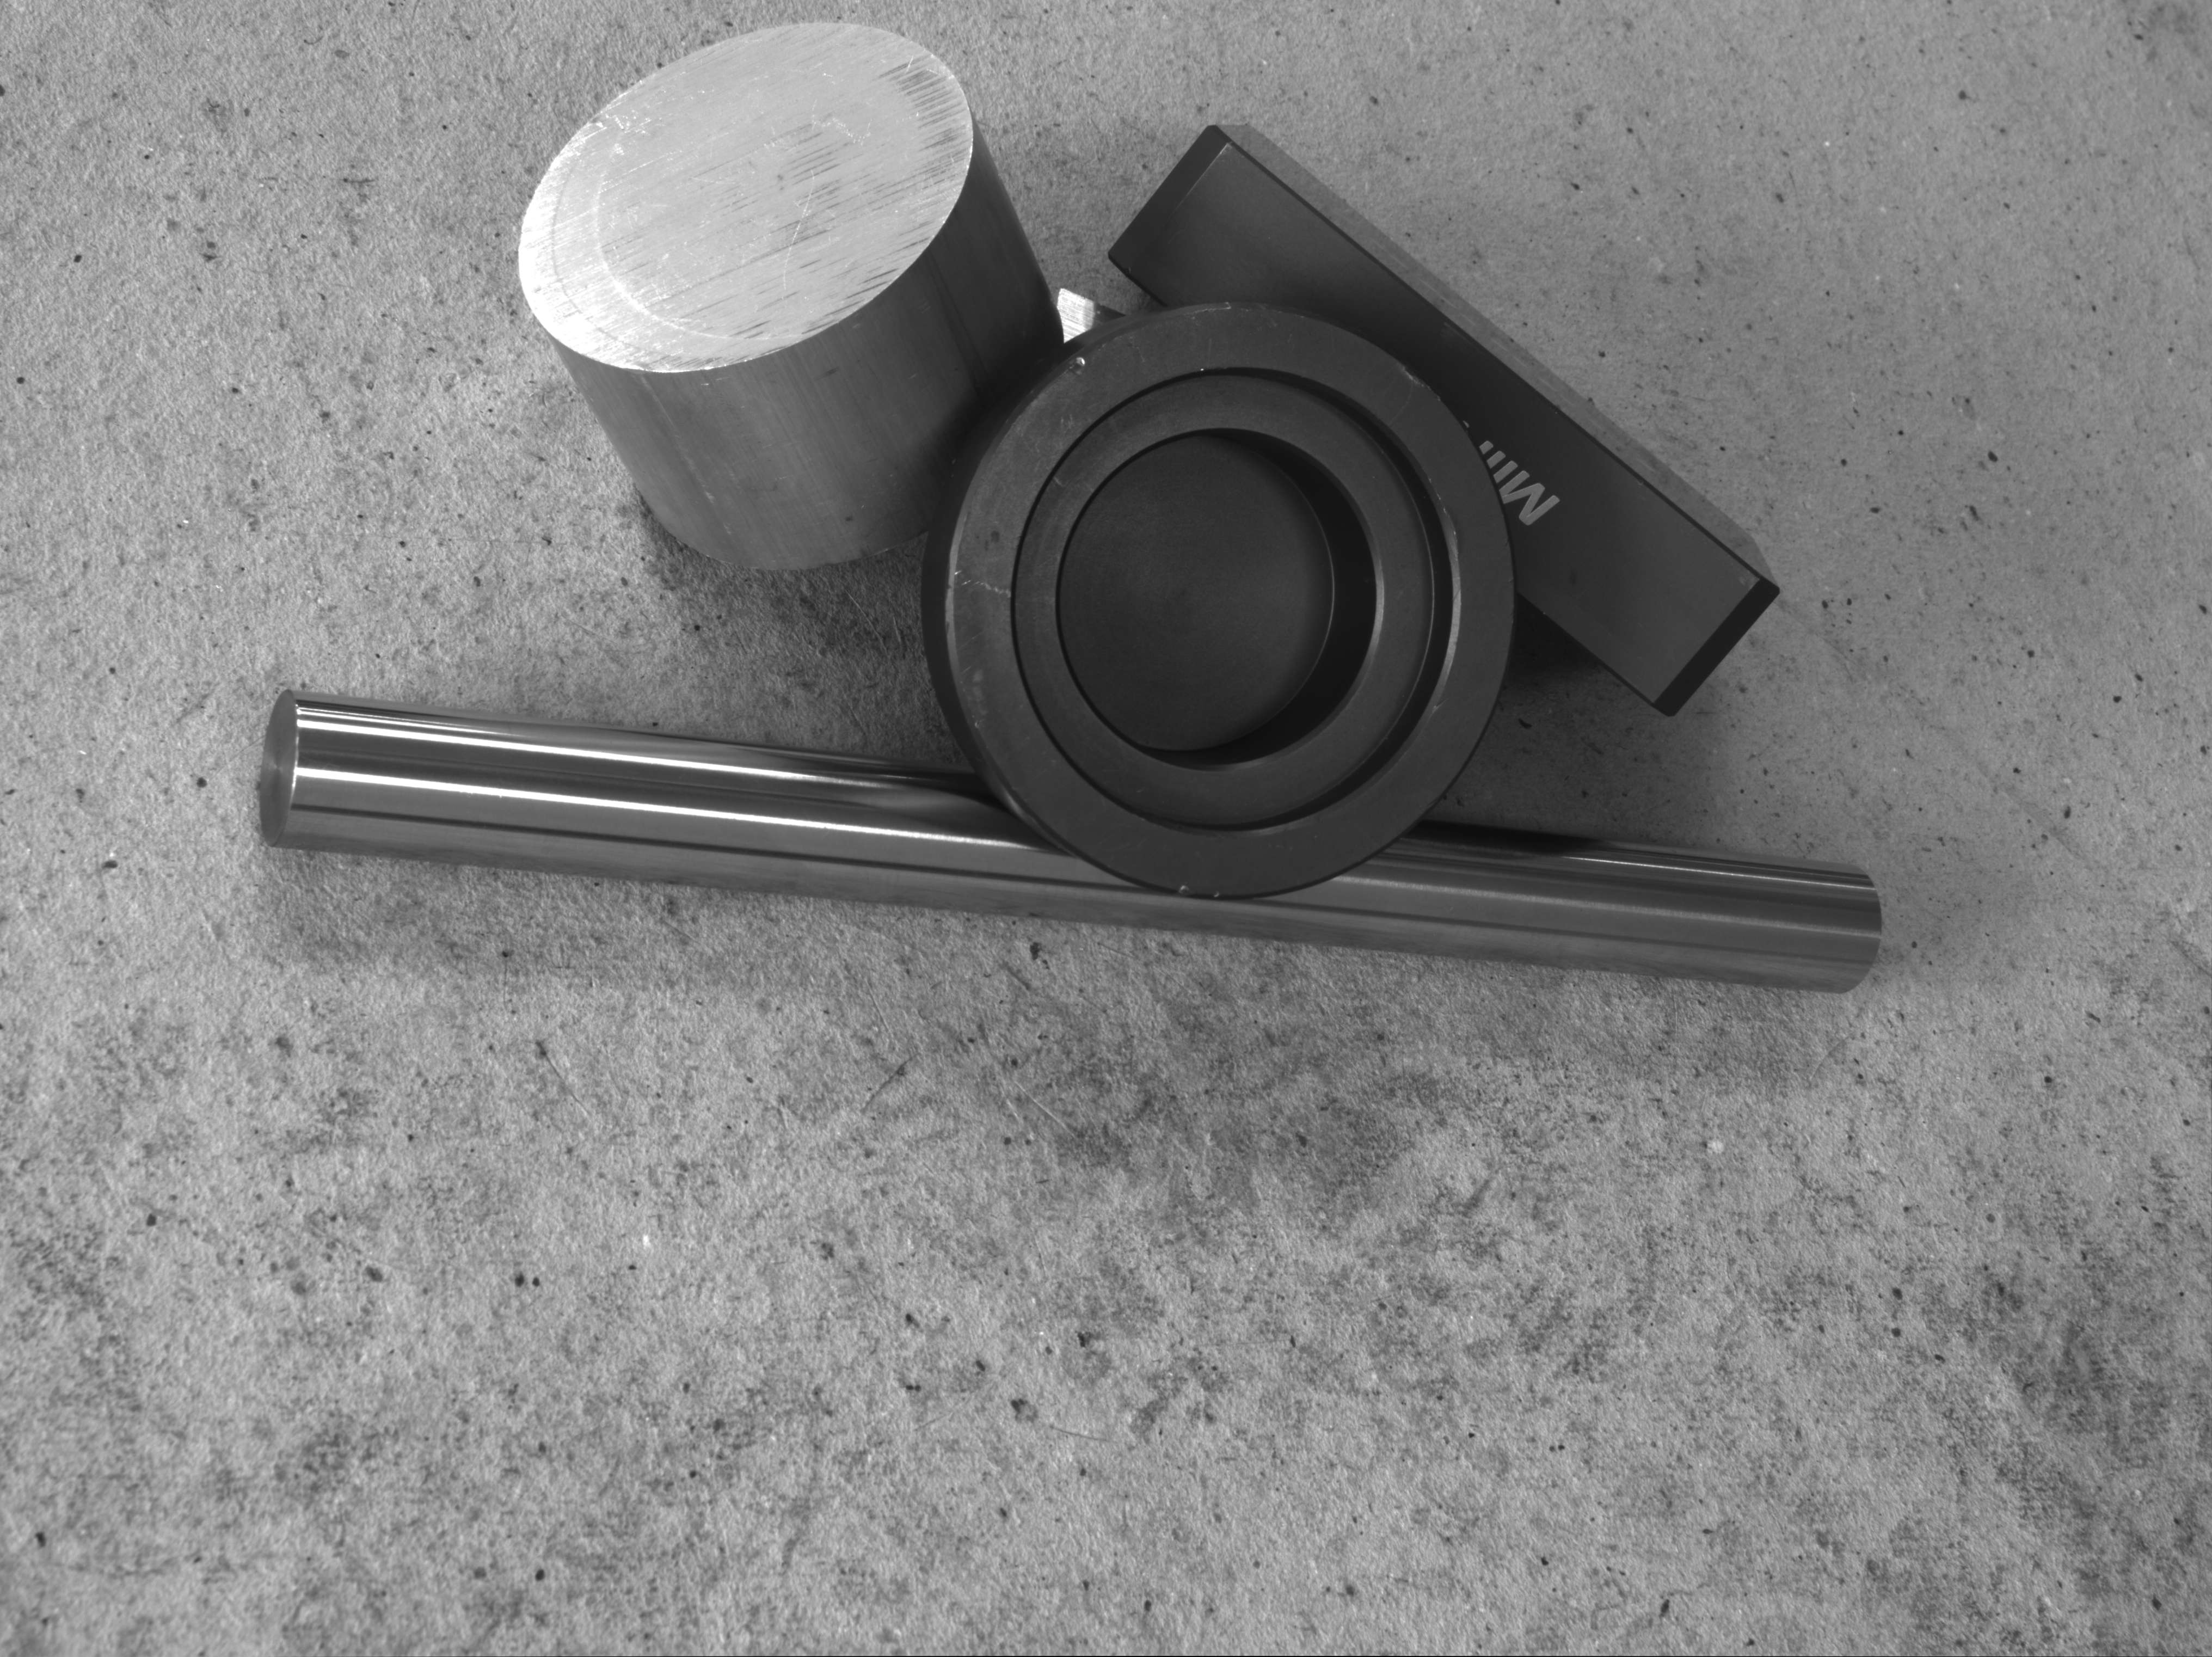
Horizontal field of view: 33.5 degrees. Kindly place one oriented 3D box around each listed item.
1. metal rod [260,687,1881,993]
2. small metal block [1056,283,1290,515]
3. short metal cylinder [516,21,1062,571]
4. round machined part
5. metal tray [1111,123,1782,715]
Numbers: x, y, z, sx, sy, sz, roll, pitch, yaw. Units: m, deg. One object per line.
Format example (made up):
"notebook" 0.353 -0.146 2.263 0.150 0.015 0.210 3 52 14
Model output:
"metal rod" 0.005 0.005 0.640 0.301 0.025 0.025 6 59 -25
"small metal block" 0.003 -0.065 0.663 0.050 0.050 0.025 22 54 -15
"short metal cylinder" -0.053 -0.091 0.626 0.080 0.050 0.080 -10 52 13
"round machined part" 0.016 -0.039 0.622 0.098 0.042 0.098 -2 97 -16
"metal tray" 0.065 -0.079 0.687 0.130 0.030 0.090 39 13 -2
